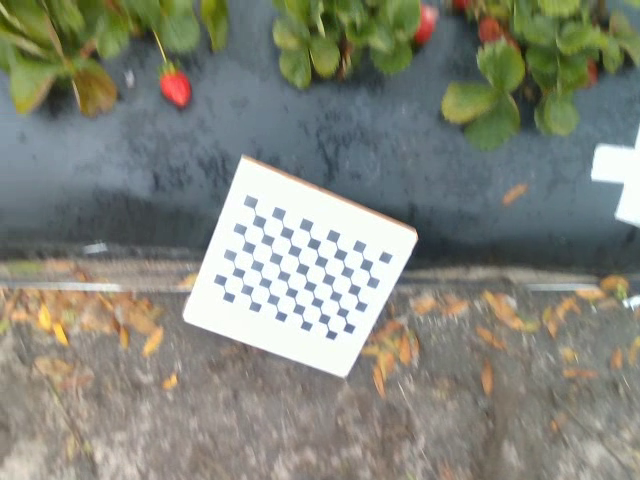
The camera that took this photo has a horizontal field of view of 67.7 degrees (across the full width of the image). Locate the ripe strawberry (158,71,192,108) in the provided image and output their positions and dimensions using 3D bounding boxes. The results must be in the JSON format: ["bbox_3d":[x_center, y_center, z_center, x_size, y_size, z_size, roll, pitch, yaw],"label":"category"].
[{"bbox_3d":[-0.210,-0.214,0.710,0.045,0.054,0.048,-26,-27,9],"label":"ripe strawberry"}]
